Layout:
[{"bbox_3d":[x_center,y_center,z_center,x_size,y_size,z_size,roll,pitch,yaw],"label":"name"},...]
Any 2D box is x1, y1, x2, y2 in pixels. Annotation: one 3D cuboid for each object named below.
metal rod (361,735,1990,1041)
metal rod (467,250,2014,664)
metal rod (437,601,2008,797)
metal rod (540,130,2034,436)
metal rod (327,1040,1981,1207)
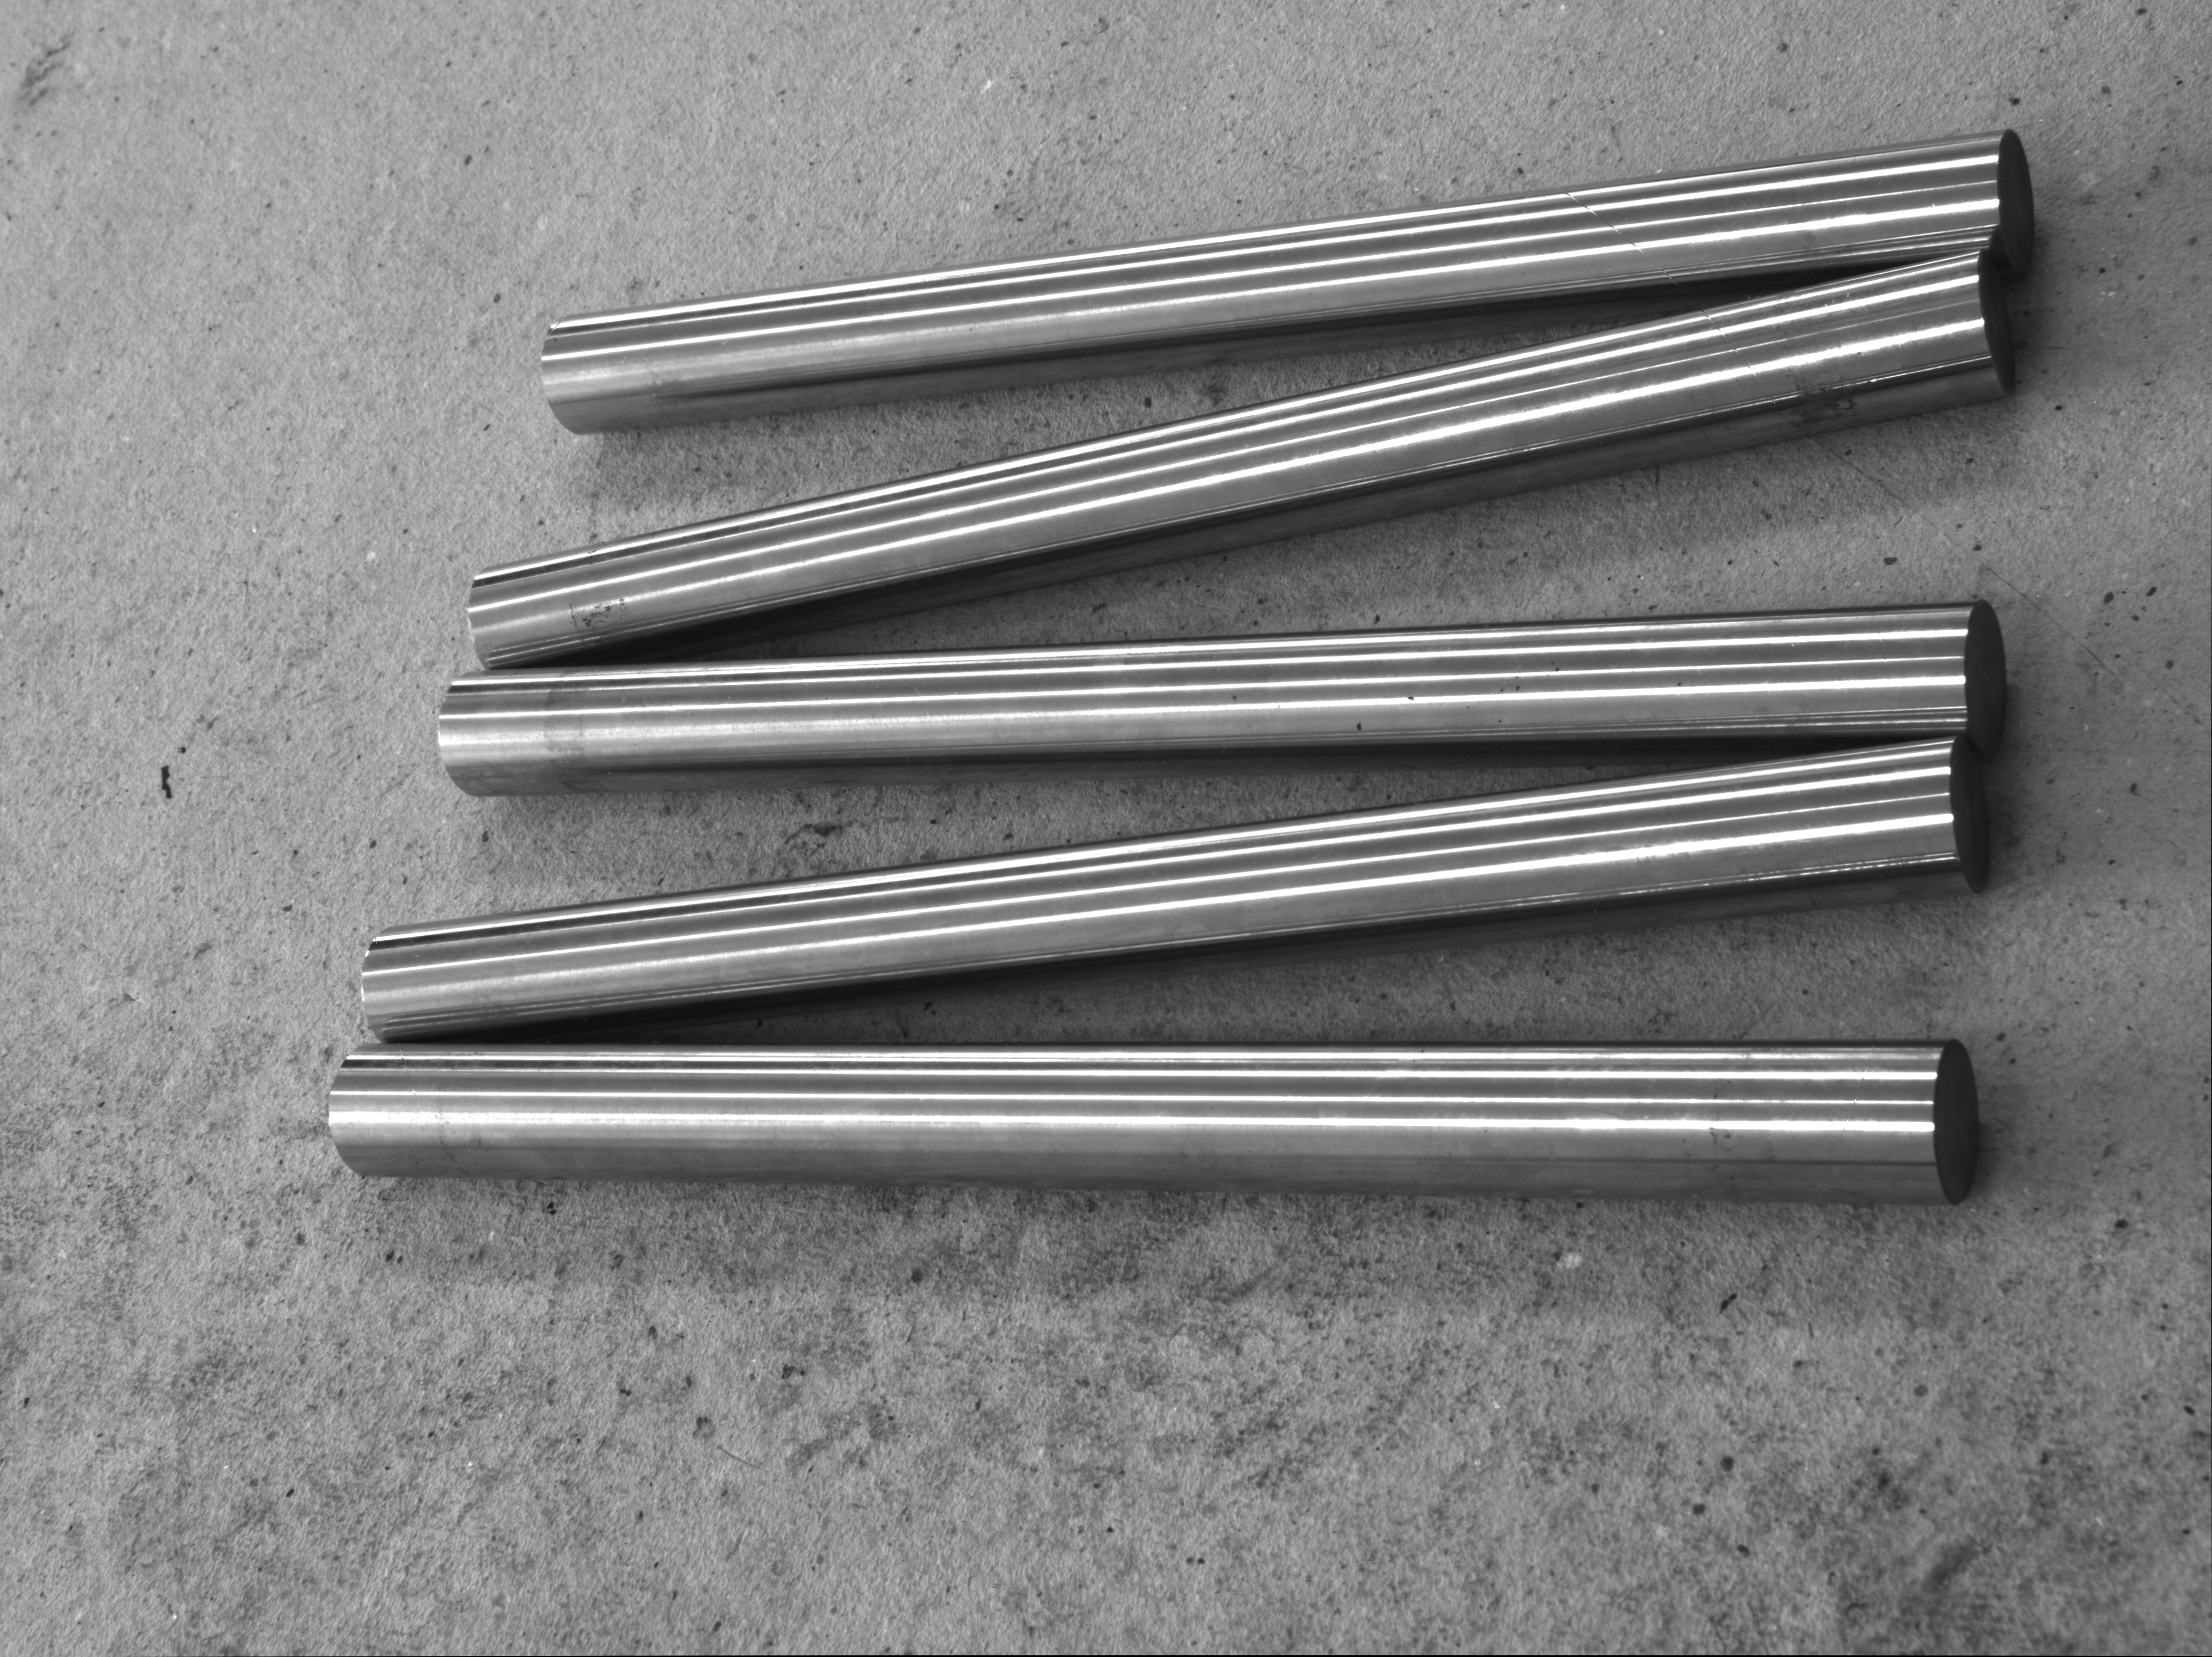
[{"bbox_3d":[0.001,0.015,0.636,0.299,0.025,0.025,-7,58,25],"label":"metal rod"},{"bbox_3d":[0.015,-0.063,0.676,0.299,0.025,0.025,-9,57,23],"label":"metal rod"},{"bbox_3d":[0.008,-0.021,0.653,0.299,0.025,0.025,-1,61,28],"label":"metal rod"},{"bbox_3d":[0.023,-0.100,0.695,0.299,0.025,0.025,-3,60,27],"label":"metal rod"},{"bbox_3d":[-0.005,0.049,0.618,0.299,0.025,0.025,-2,61,27],"label":"metal rod"}]
